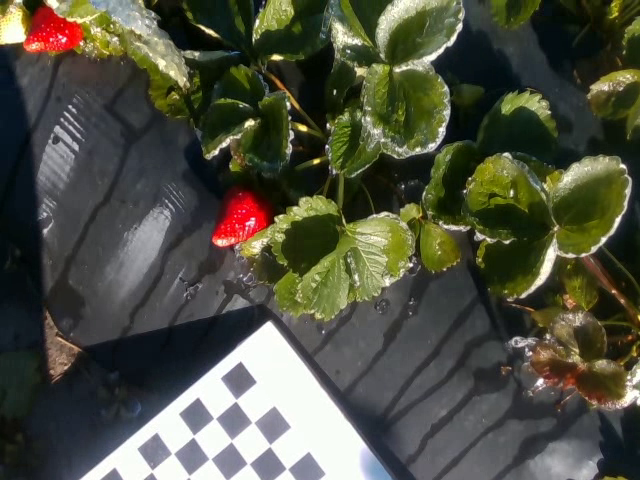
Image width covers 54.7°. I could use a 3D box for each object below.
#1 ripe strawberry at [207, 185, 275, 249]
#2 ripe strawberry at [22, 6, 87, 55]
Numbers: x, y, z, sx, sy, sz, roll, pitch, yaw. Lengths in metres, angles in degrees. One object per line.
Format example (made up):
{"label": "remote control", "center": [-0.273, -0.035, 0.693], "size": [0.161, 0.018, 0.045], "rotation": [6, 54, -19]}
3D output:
{"label": "ripe strawberry", "center": [-0.058, -0.013, 0.419], "size": [0.052, 0.041, 0.047], "rotation": [-41, -9, -35]}
{"label": "ripe strawberry", "center": [-0.197, -0.150, 0.444], "size": [0.037, 0.040, 0.051], "rotation": [36, 44, 8]}
